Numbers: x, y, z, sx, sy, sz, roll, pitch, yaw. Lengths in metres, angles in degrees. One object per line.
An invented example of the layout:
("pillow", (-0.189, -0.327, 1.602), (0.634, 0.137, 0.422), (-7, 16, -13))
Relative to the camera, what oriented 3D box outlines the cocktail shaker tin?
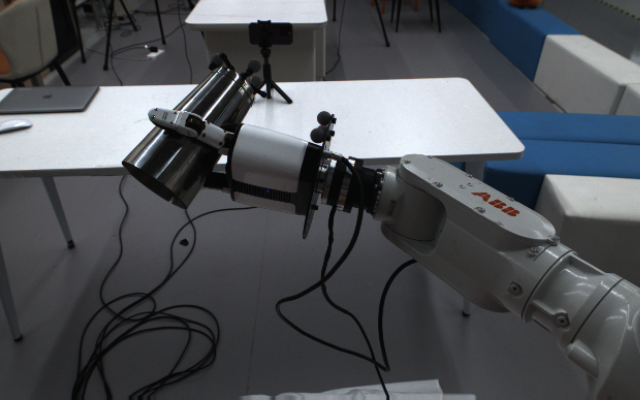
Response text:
("cocktail shaker tin", (-0.155, -0.088, 0.605), (0.093, 0.093, 0.170), (22, 67, 26))
